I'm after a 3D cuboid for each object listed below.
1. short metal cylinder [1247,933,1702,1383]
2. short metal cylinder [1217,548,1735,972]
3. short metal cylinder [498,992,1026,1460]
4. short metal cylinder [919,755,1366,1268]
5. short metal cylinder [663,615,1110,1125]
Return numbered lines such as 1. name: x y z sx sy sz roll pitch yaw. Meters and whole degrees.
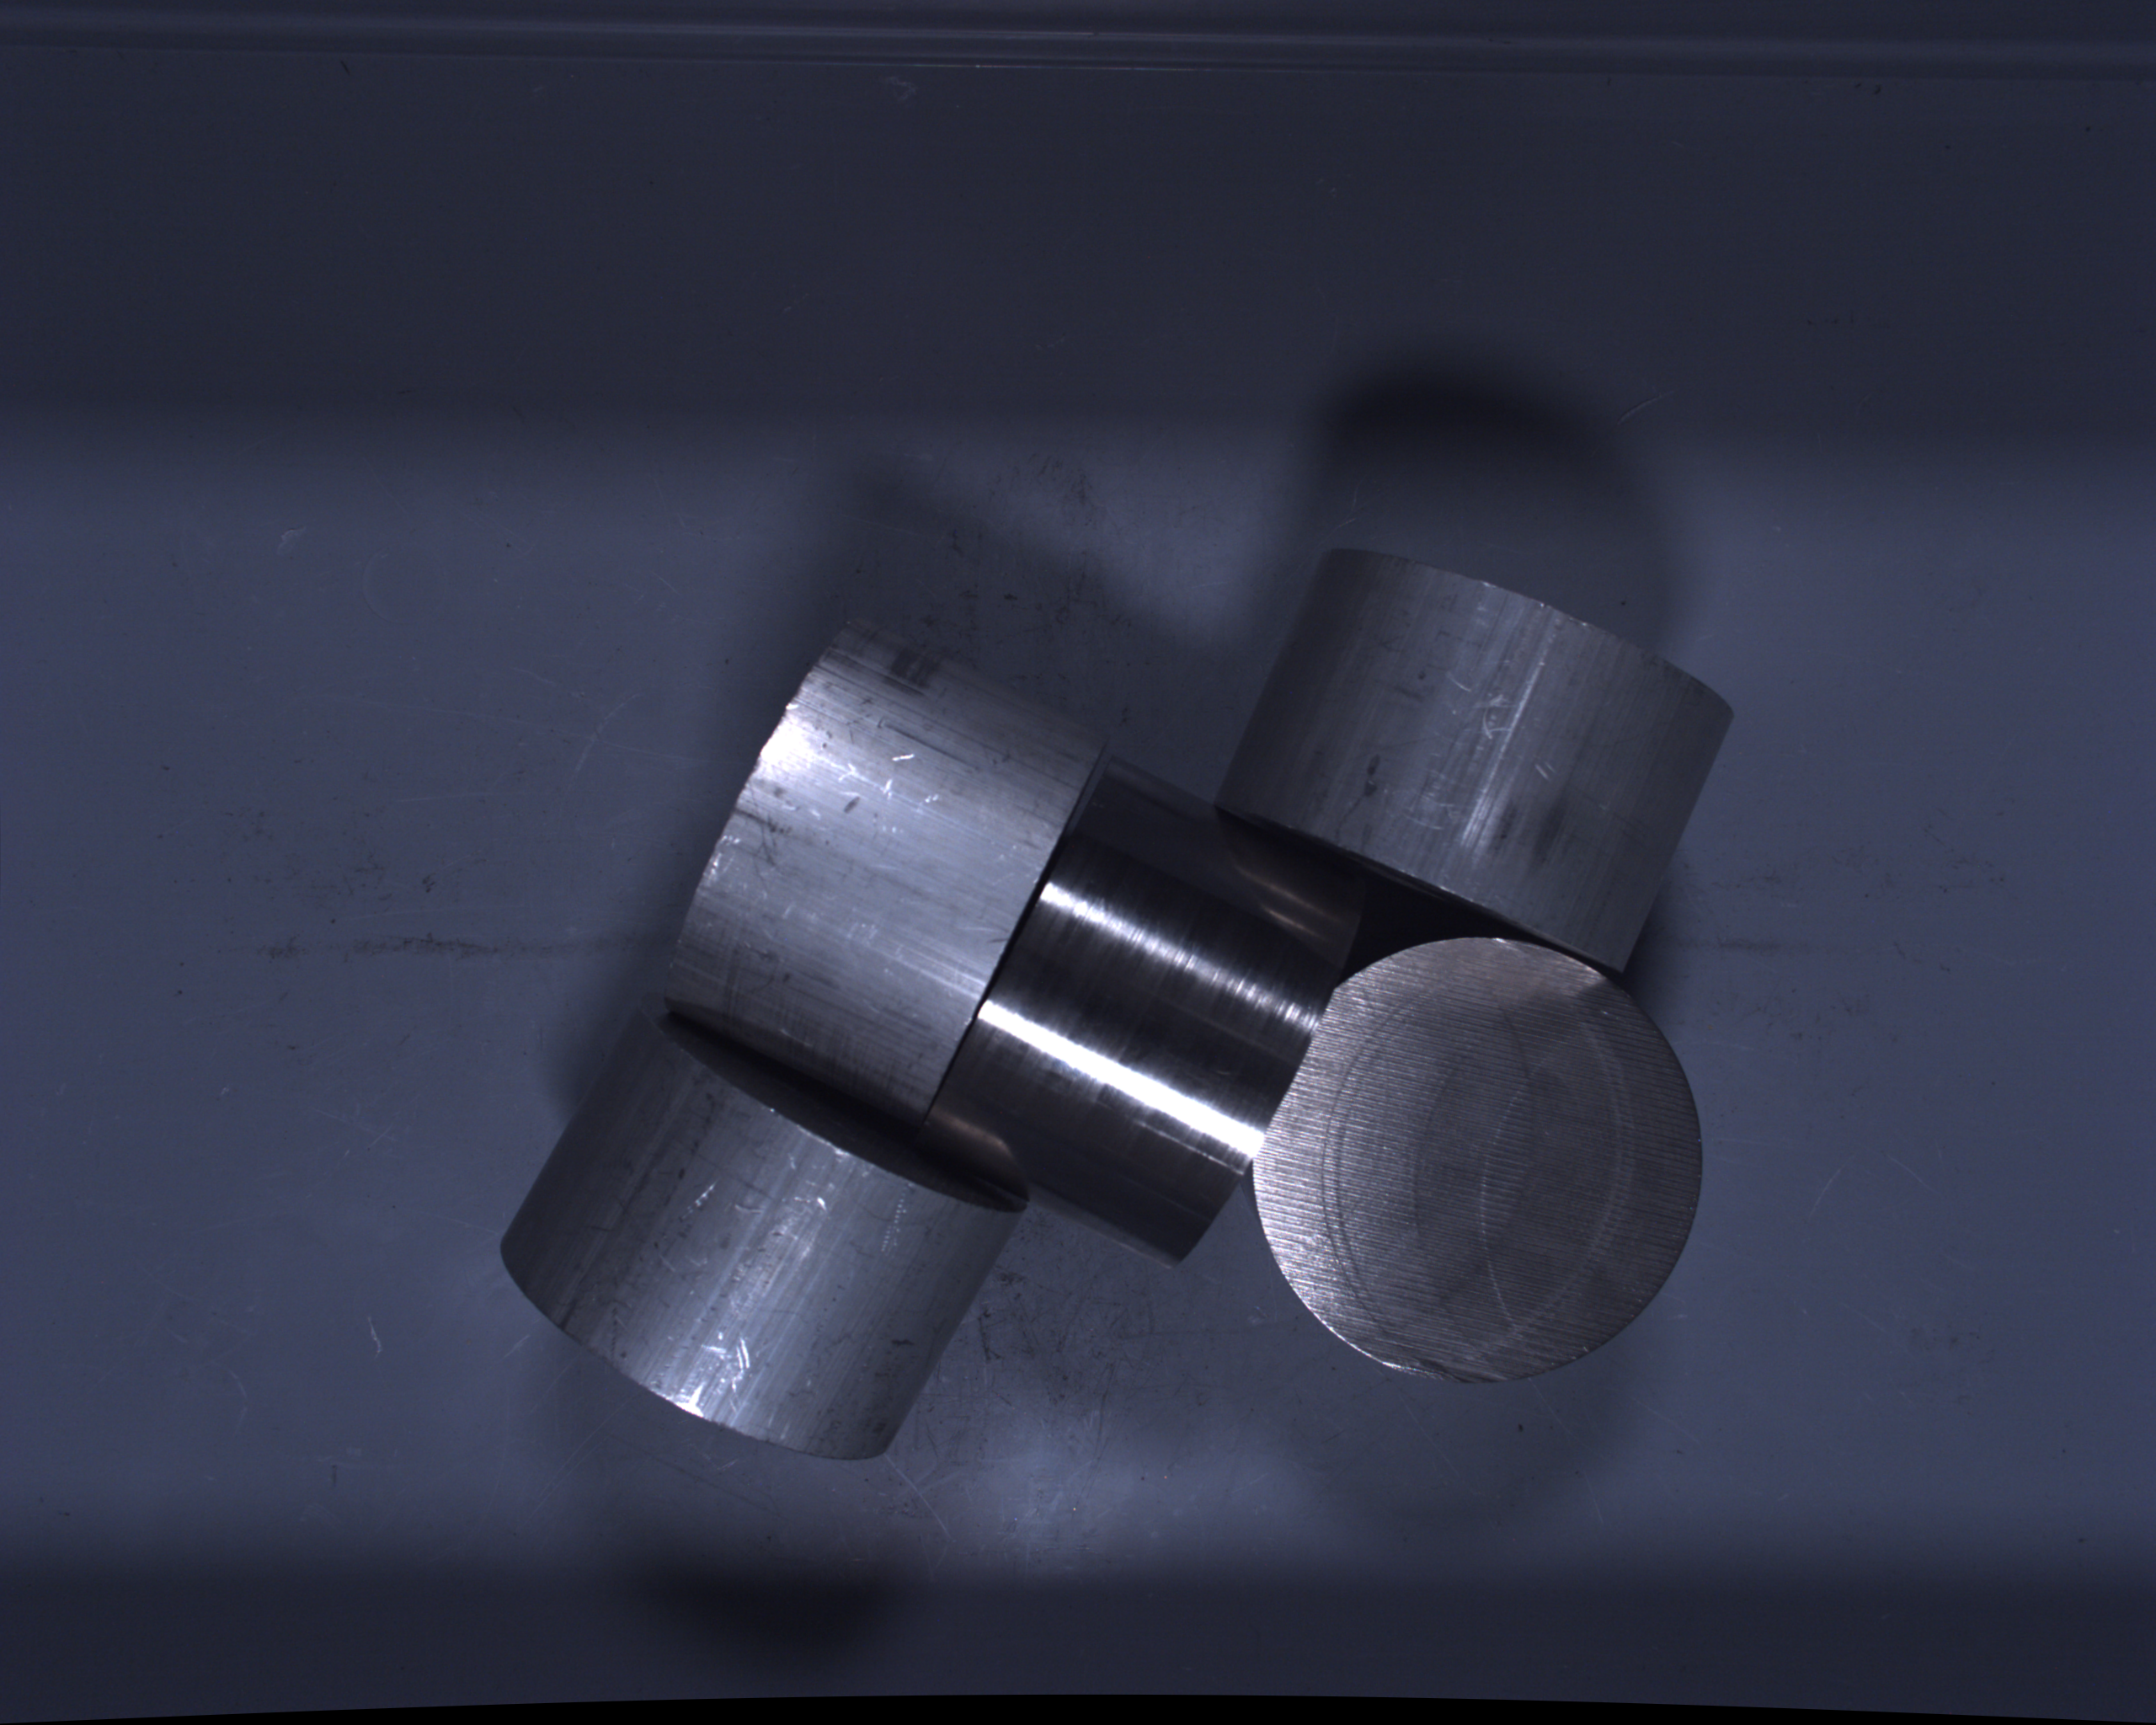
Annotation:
1. short metal cylinder: 0.071 0.053 0.398 0.081 0.050 0.079 0 90 -1
2. short metal cylinder: 0.072 -0.018 0.383 0.080 0.080 0.050 23 90 -1
3. short metal cylinder: -0.057 0.065 0.382 0.080 0.080 0.050 29 90 -1
4. short metal cylinder: 0.012 0.027 0.383 0.050 0.080 0.080 27 90 -1
5. short metal cylinder: -0.034 0.001 0.382 0.050 0.080 0.080 26 90 -1
